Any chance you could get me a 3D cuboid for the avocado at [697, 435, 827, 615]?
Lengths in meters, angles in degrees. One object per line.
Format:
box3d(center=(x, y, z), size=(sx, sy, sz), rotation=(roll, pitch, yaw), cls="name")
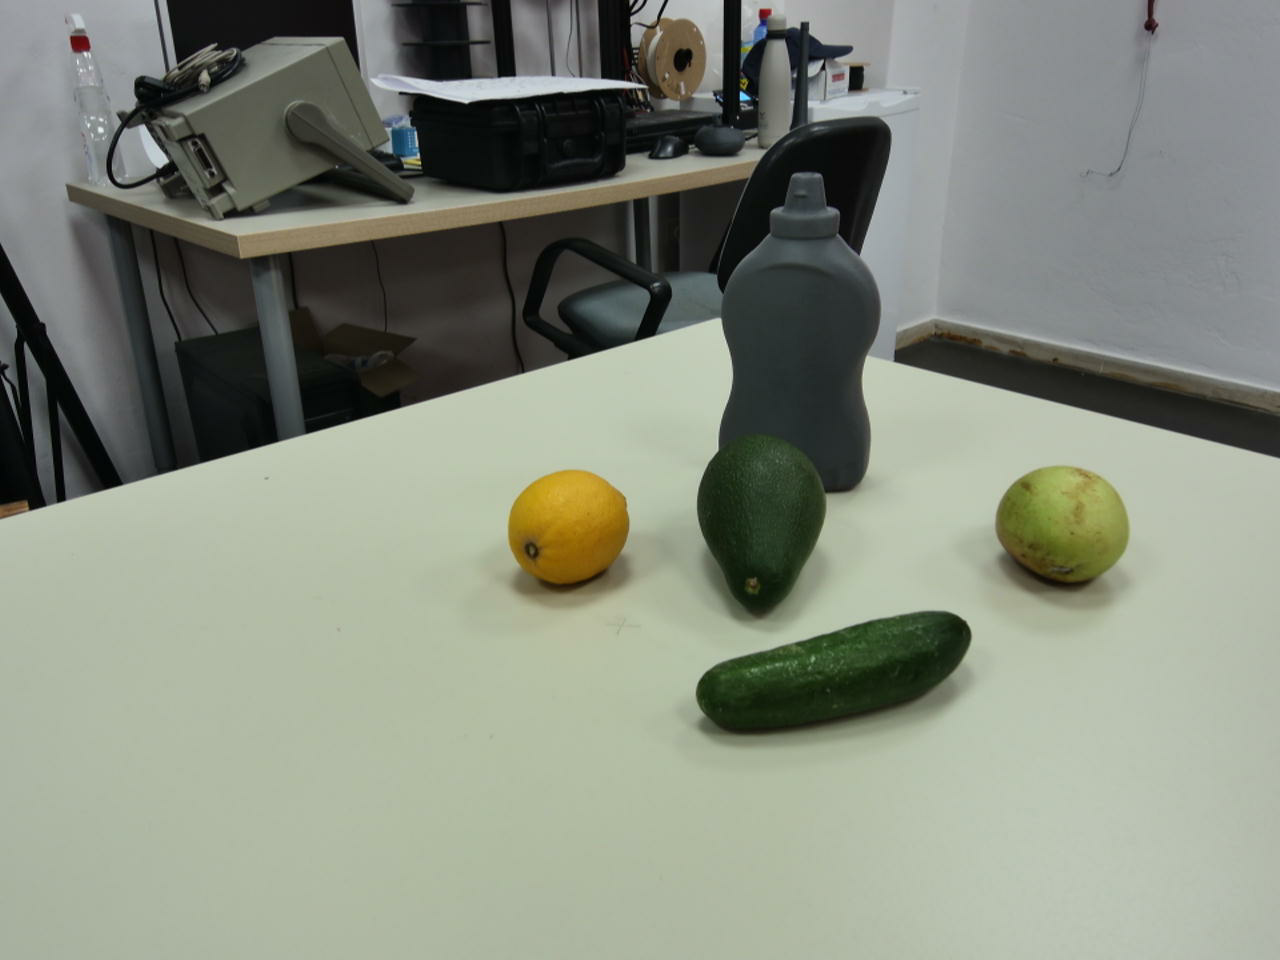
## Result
box3d(center=(0.061, 0.018, 0.537), size=(0.073, 0.071, 0.109), rotation=(11, 26, 24), cls="avocado")
